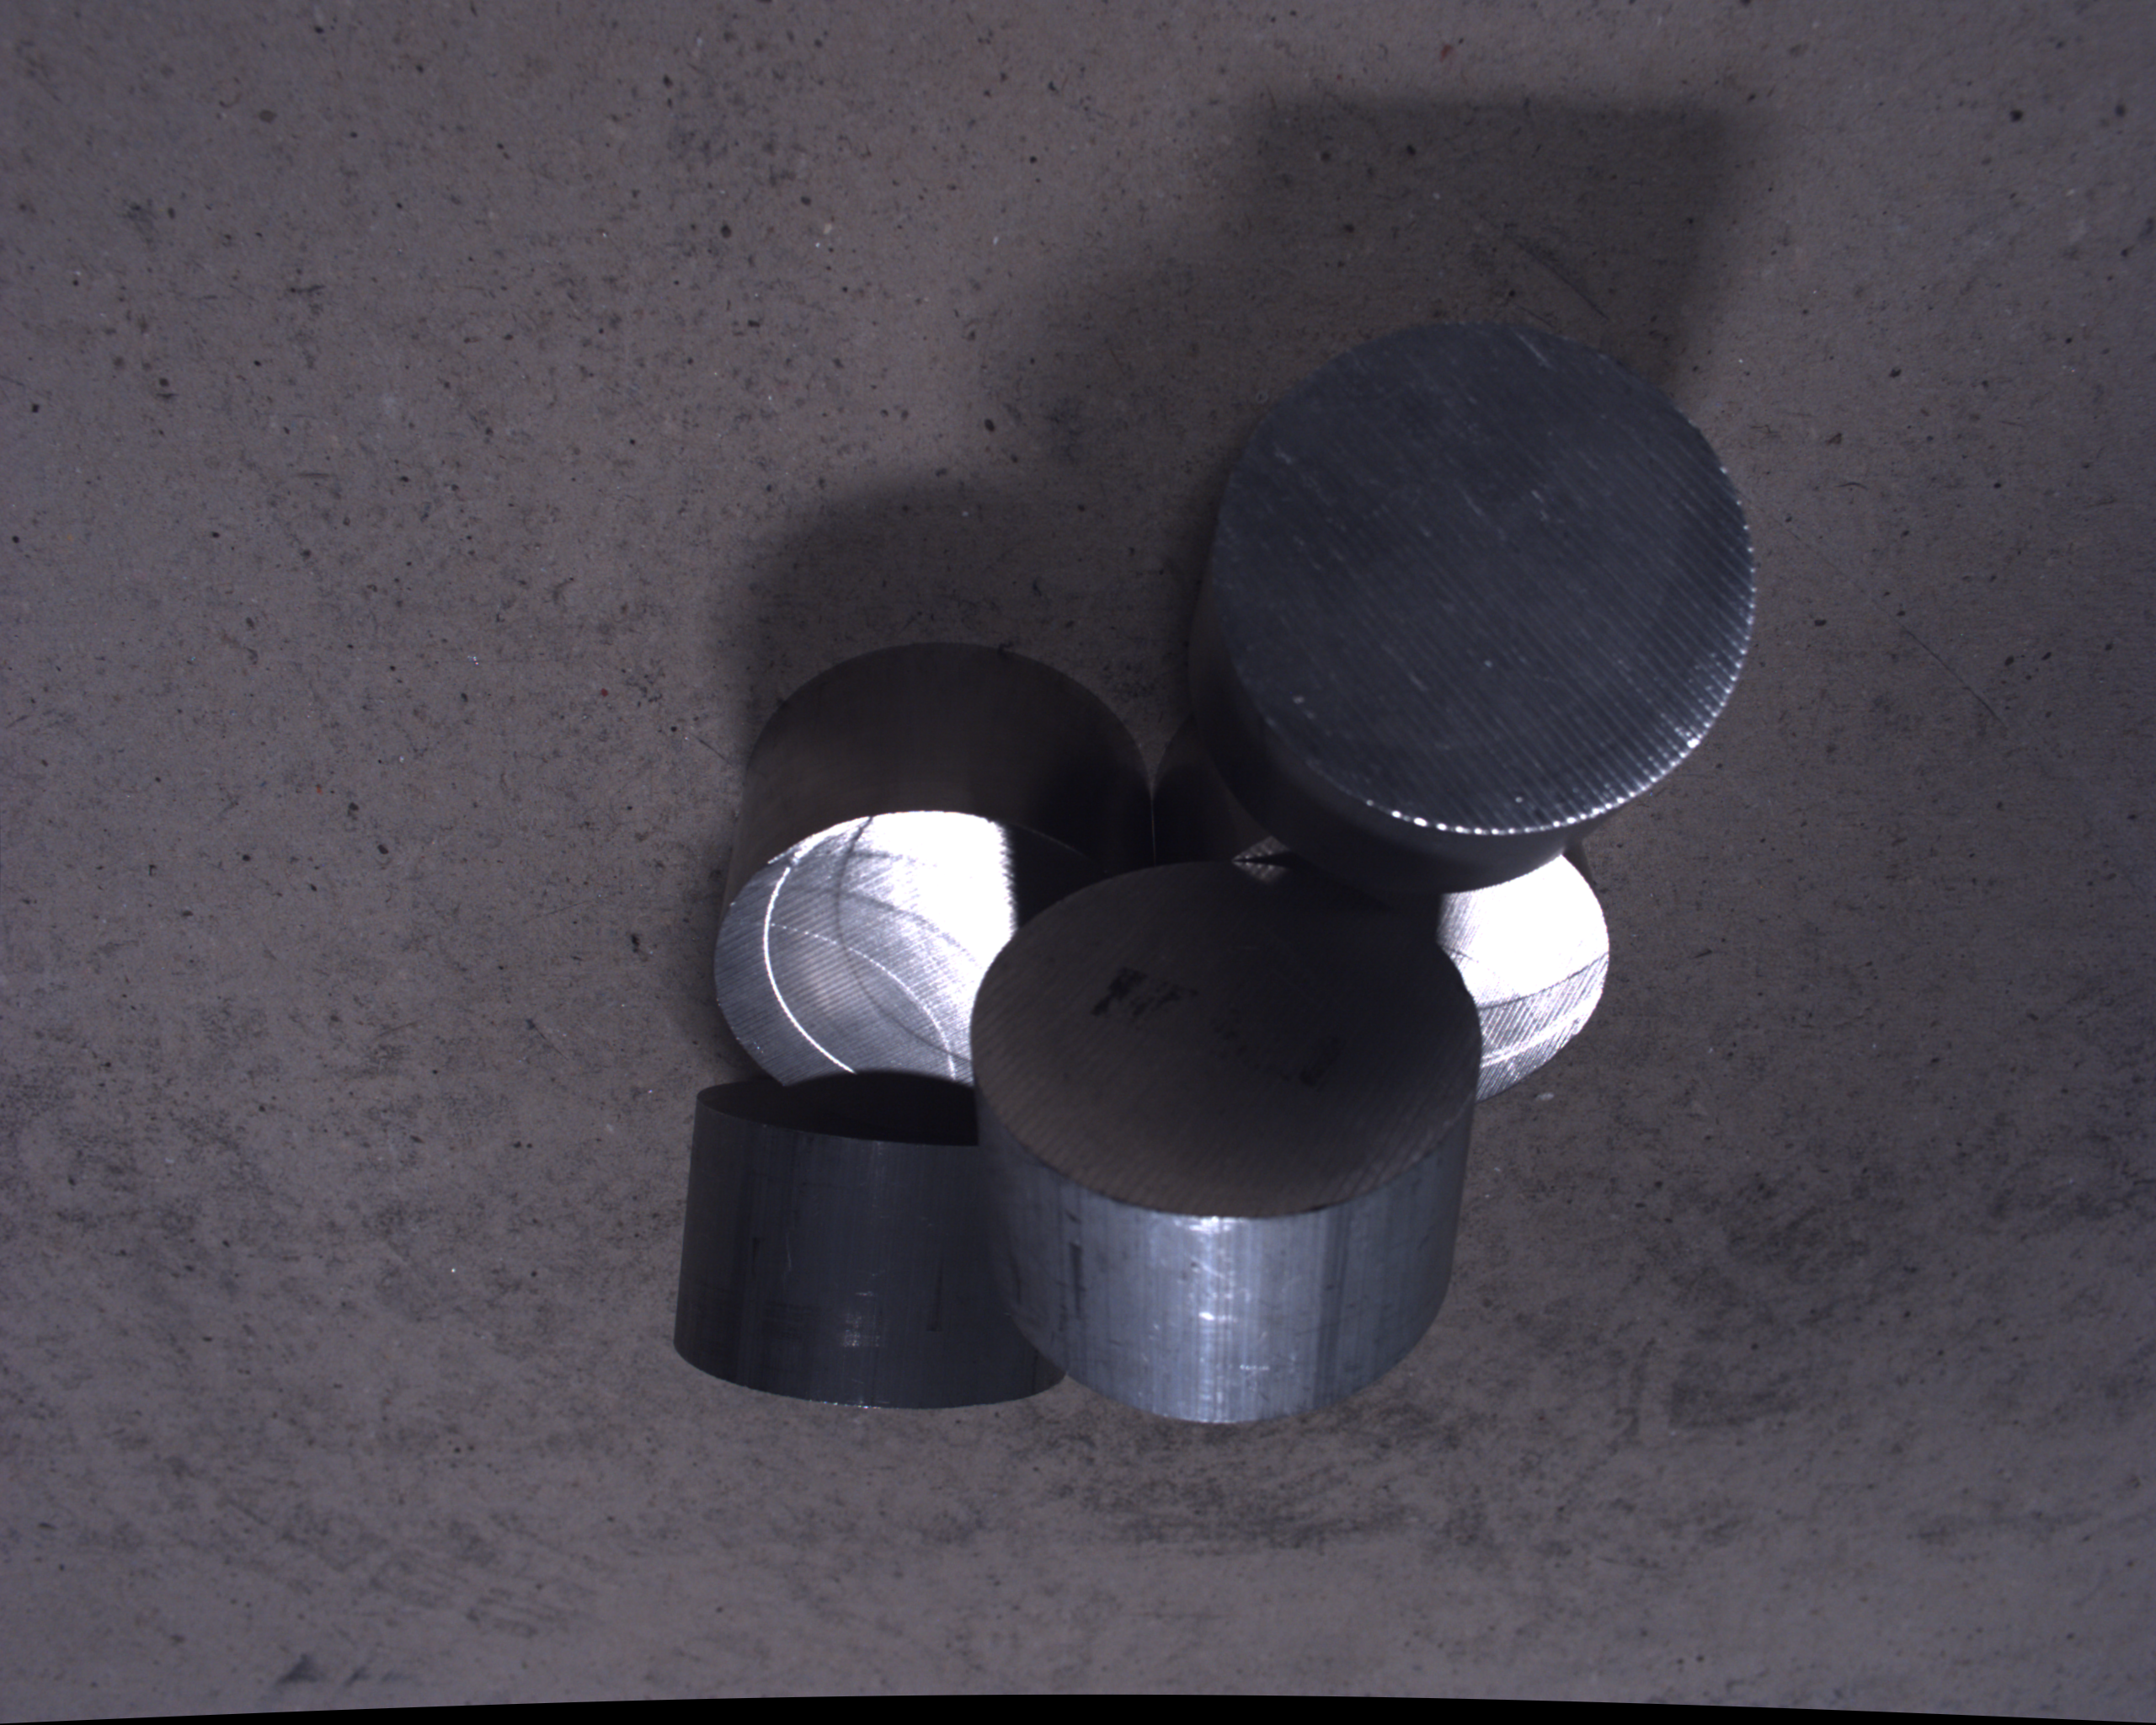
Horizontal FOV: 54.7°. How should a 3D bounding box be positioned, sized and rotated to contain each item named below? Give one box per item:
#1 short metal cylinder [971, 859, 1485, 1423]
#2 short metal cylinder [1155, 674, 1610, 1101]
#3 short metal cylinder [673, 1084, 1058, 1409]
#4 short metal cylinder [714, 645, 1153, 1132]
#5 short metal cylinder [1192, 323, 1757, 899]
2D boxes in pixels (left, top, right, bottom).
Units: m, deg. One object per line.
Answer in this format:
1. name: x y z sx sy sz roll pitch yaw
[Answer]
1. short metal cylinder: 0.024 0.044 0.345 0.081 0.080 0.050 -1 130 0
2. short metal cylinder: 0.055 0.005 0.396 0.081 0.050 0.079 0 130 0
3. short metal cylinder: -0.040 0.076 0.428 0.081 0.080 0.050 6 91 -5
4. short metal cylinder: -0.025 0.006 0.396 0.081 0.050 0.079 0 130 0
5. short metal cylinder: 0.060 -0.038 0.332 0.081 0.080 0.050 0 168 -1
